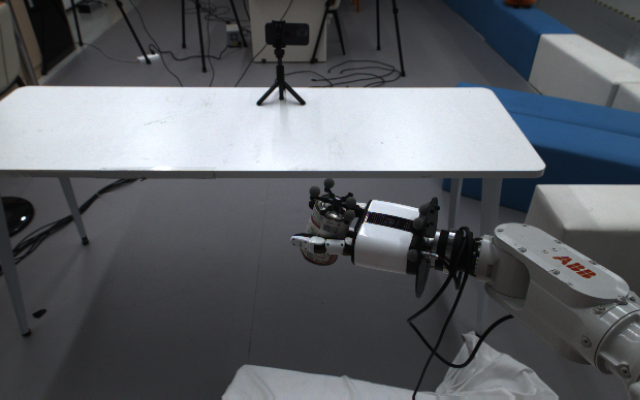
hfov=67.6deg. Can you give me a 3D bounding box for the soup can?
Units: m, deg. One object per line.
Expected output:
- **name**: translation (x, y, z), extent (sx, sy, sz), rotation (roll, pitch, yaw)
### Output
- **soup can**: translation (0.011, 0.050, 0.797), extent (0.067, 0.101, 0.067), rotation (13, 35, -9)
